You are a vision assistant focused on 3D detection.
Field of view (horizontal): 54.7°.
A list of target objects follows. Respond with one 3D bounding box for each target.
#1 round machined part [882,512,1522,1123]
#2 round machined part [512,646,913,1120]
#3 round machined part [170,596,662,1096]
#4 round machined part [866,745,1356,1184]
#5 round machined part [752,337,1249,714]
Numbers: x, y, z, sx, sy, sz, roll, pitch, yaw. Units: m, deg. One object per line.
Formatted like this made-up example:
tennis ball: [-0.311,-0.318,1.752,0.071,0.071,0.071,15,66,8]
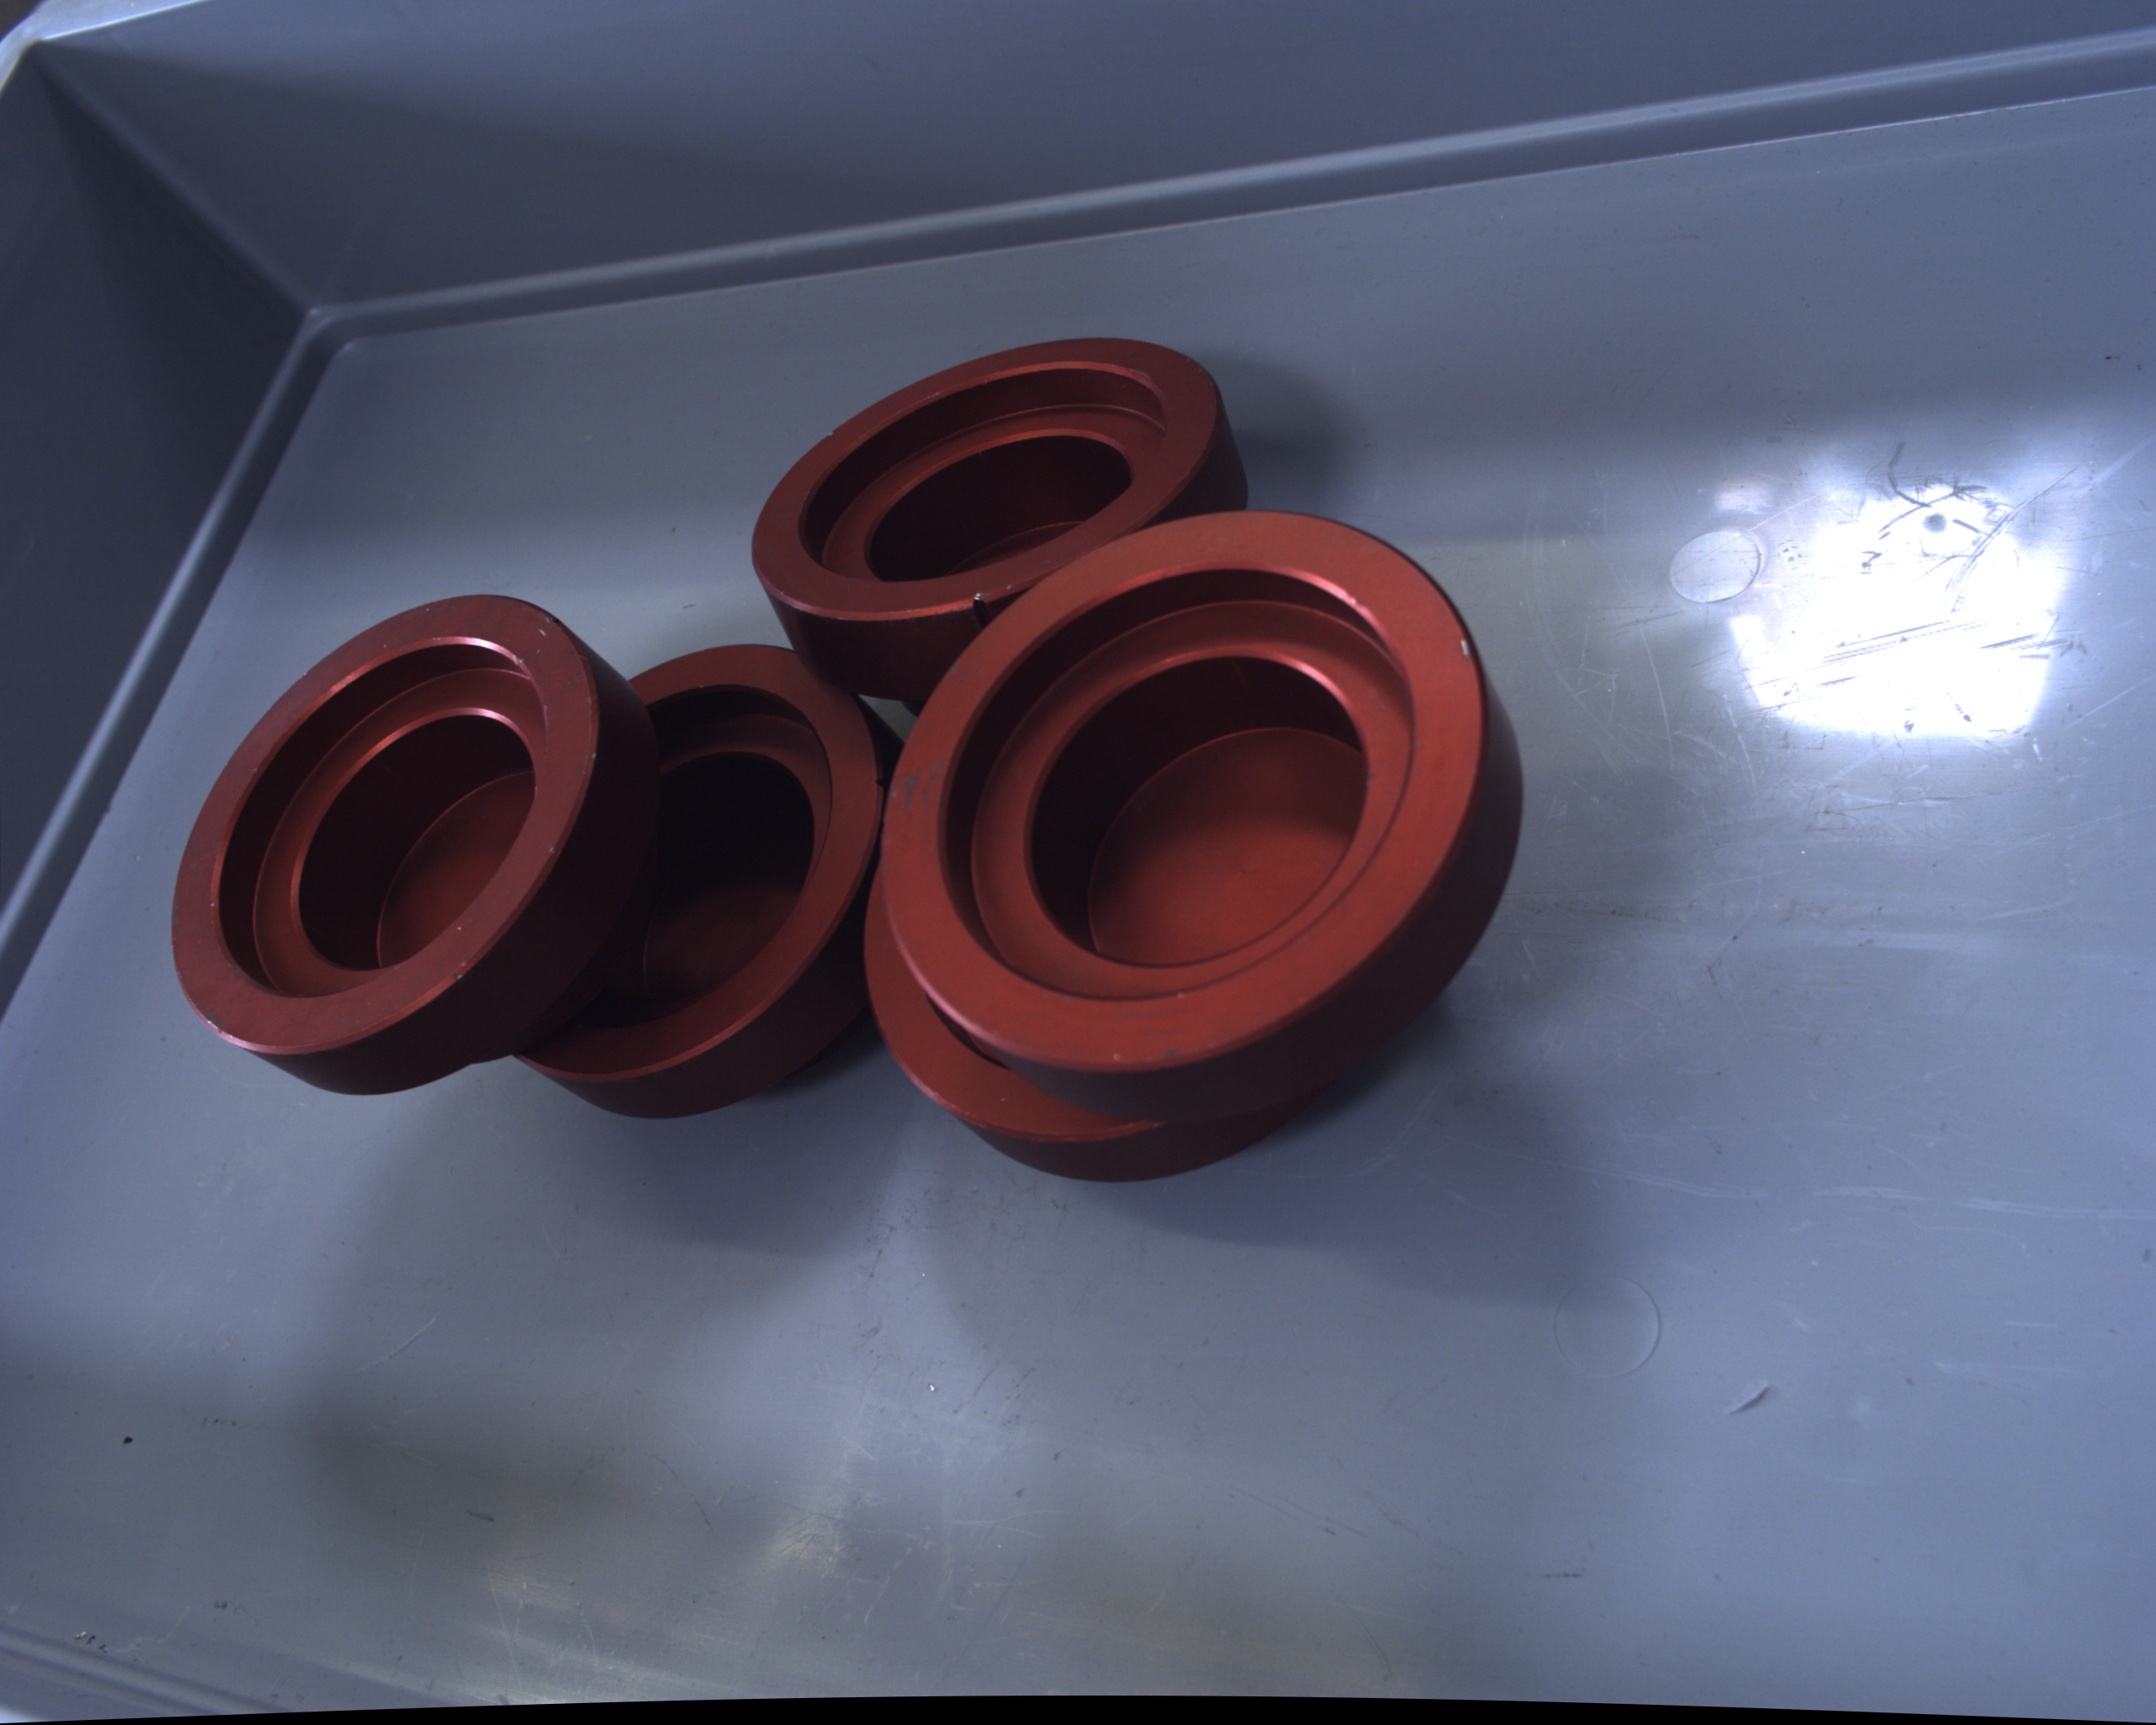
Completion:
round machined part: [0.022,-0.004,0.331,0.098,0.042,0.098,-13,56,21]
round machined part: [-0.073,0.007,0.427,0.098,0.042,0.098,-13,56,21]
round machined part: [-0.122,0.000,0.403,0.098,0.042,0.098,-13,56,21]
round machined part: [0.015,0.013,0.378,0.098,0.042,0.098,-13,56,21]
round machined part: [-0.013,-0.063,0.426,0.098,0.042,0.098,-13,39,12]
